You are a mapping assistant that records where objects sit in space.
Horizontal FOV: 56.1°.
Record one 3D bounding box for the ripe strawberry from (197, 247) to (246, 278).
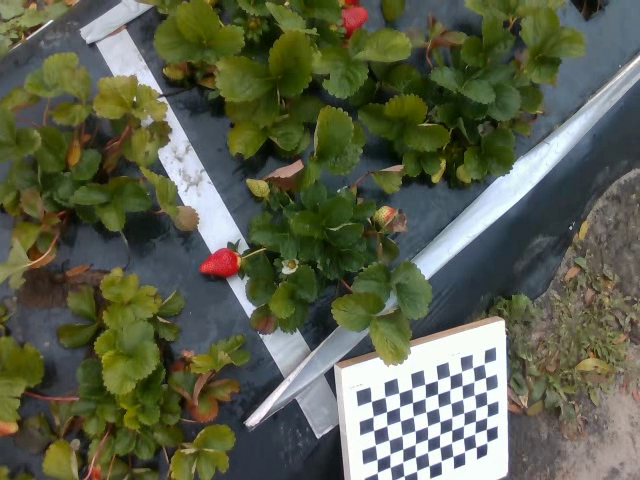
[{"bbox_3d":[-0.121,0.028,0.708,0.051,0.042,0.037,-16,21,-25],"label":"ripe strawberry"}]
